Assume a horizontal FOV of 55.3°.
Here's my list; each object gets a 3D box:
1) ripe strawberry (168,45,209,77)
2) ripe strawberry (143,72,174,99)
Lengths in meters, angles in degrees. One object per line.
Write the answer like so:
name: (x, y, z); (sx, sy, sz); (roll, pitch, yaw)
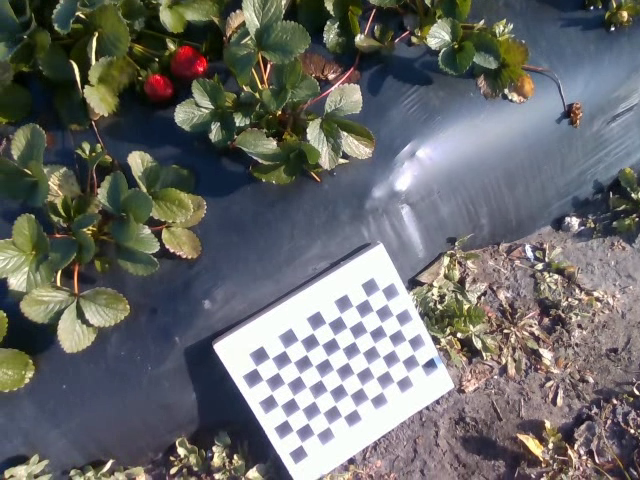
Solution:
ripe strawberry: (-0.175, -0.241, 0.839); (0.057, 0.052, 0.046); (30, 7, 31)
ripe strawberry: (-0.215, -0.204, 0.827); (0.051, 0.043, 0.036); (23, 10, 30)
